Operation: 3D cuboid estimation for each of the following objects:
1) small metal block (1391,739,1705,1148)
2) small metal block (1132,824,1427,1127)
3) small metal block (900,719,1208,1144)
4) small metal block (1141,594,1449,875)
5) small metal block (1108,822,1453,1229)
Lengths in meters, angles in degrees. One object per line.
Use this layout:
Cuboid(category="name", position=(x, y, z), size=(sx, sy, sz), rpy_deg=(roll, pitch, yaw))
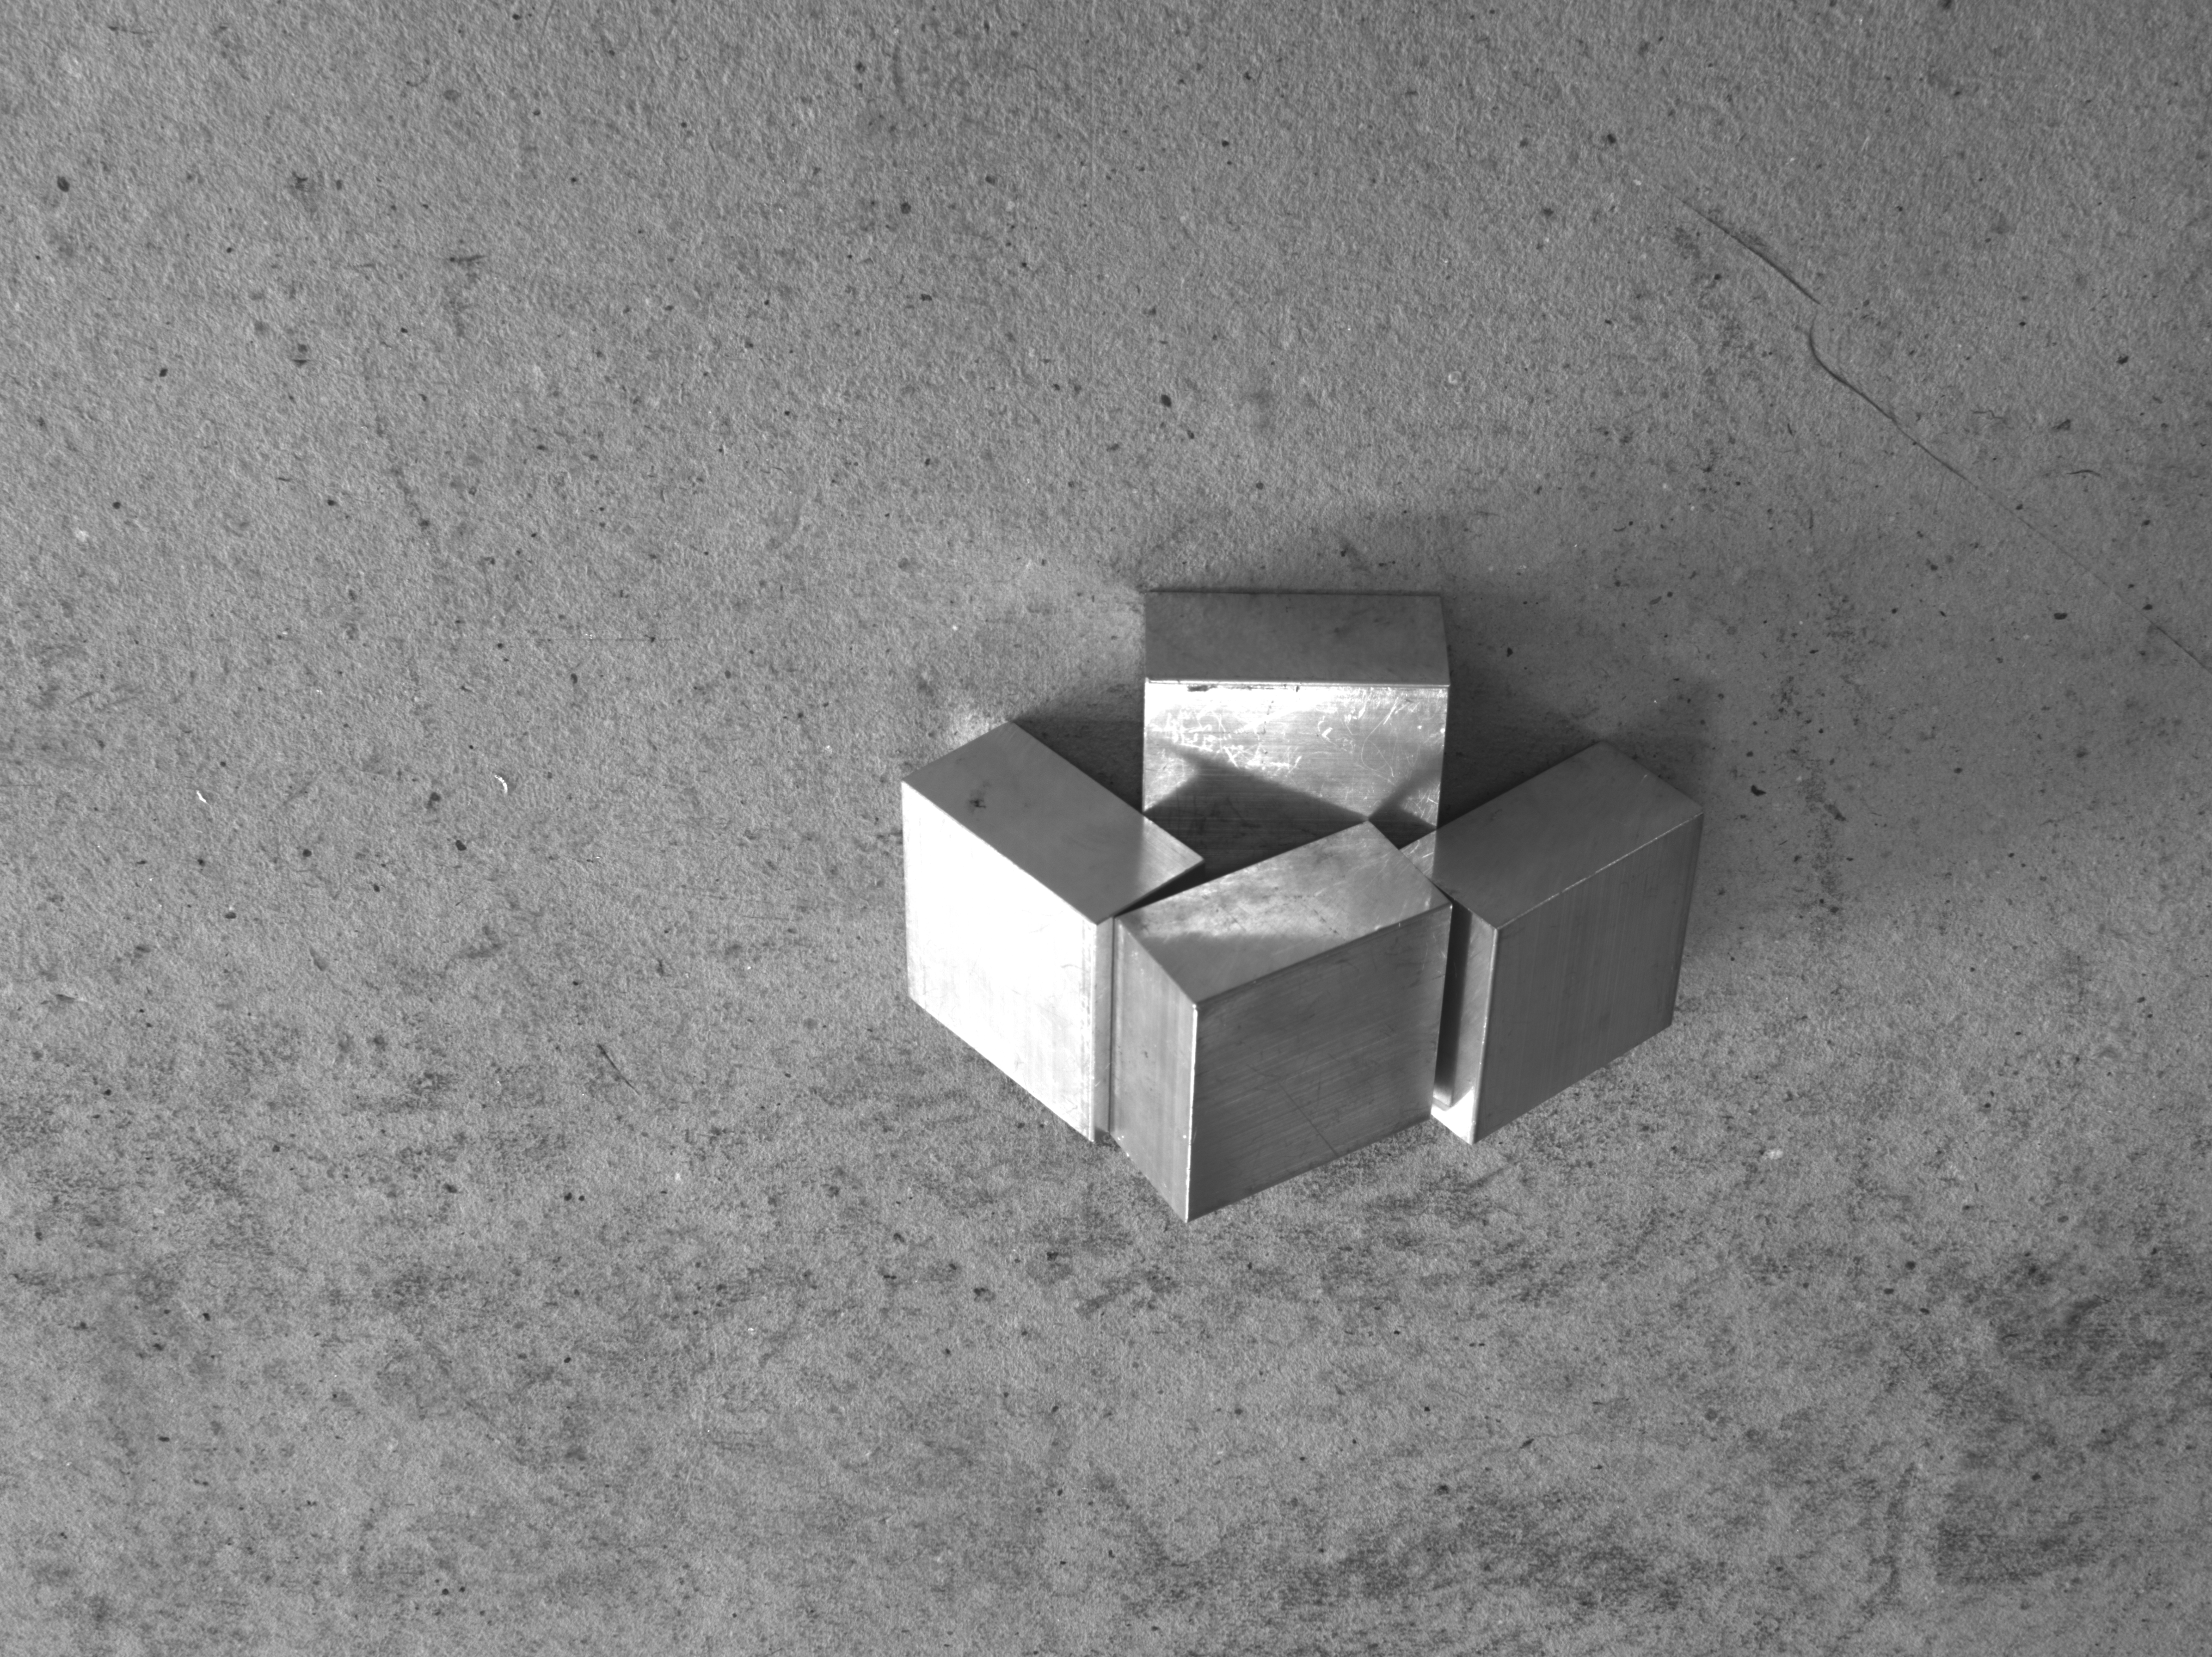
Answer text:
Cuboid(category="small metal block", position=(0.074, 0.020, 0.640), size=(0.050, 0.025, 0.050), rpy_deg=(-27, 138, -30))
Cuboid(category="small metal block", position=(0.030, 0.027, 0.661), size=(0.050, 0.025, 0.050), rpy_deg=(1, 130, -1))
Cuboid(category="small metal block", position=(-0.009, 0.018, 0.636), size=(0.025, 0.050, 0.050), rpy_deg=(-30, 139, -31))
Cuboid(category="small metal block", position=(0.031, -0.012, 0.629), size=(0.050, 0.025, 0.050), rpy_deg=(1, 130, -1))
Cuboid(category="small metal block", position=(0.029, 0.033, 0.620), size=(0.050, 0.025, 0.050), rpy_deg=(-20, 135, -24))
